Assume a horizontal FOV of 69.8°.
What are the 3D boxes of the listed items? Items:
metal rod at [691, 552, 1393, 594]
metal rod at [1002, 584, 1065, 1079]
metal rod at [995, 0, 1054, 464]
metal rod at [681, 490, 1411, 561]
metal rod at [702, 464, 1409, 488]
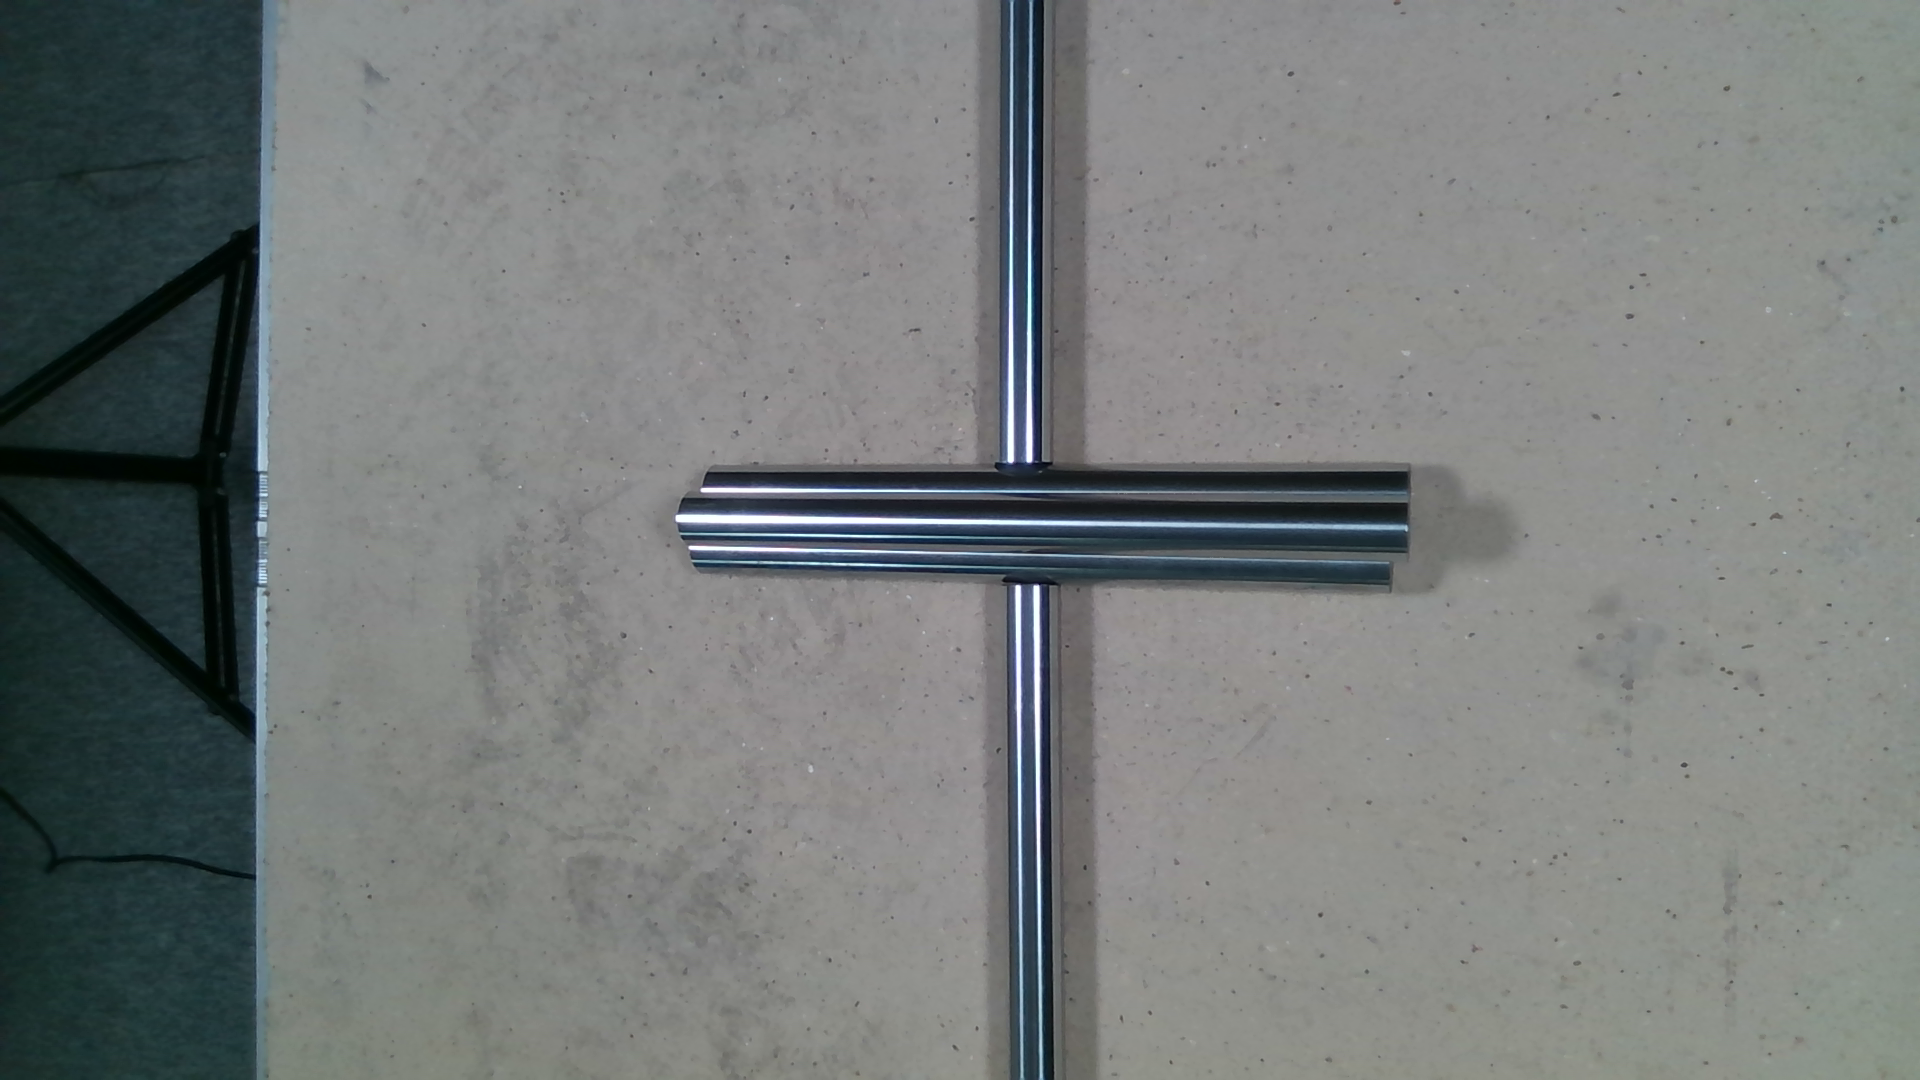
[{"bbox_3d":[0.024,0.005,0.578,0.300,0.025,0.025,1,91,20],"label":"metal rod"},{"bbox_3d":[0.031,0.168,0.576,0.025,0.025,0.300,0,90,20],"label":"metal rod"},{"bbox_3d":[0.027,-0.182,0.574,0.025,0.025,0.300,0,91,20],"label":"metal rod"},{"bbox_3d":[0.024,-0.007,0.555,0.300,0.025,0.025,1,91,20],"label":"metal rod"},{"bbox_3d":[0.030,-0.019,0.575,0.300,0.025,0.025,1,91,20],"label":"metal rod"}]
